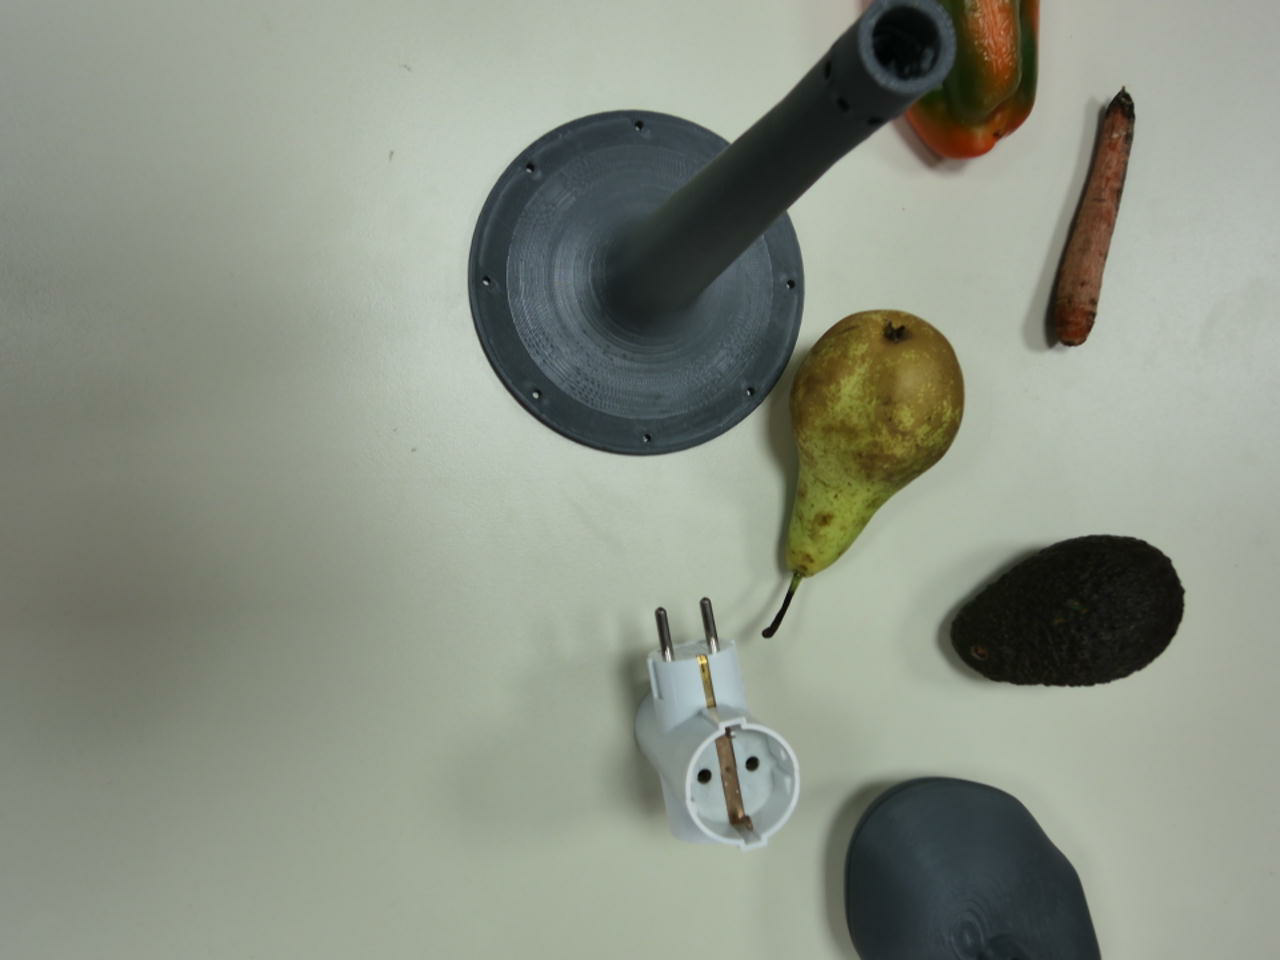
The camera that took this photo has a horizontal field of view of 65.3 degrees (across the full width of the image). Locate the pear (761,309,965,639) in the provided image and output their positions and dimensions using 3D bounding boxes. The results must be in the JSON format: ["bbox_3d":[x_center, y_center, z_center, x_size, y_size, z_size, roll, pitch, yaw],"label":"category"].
[{"bbox_3d":[0.096,0.000,0.423,0.071,0.075,0.144,7,89,-12],"label":"pear"}]
